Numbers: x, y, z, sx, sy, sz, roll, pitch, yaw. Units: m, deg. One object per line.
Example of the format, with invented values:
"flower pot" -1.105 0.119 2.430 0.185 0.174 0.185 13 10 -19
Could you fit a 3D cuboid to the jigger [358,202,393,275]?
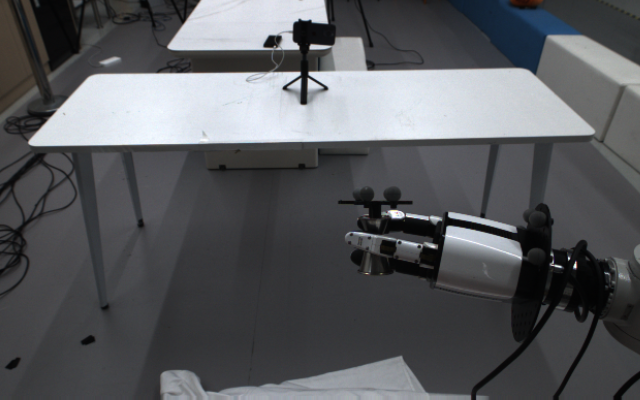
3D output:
"jigger" 0.067 0.054 0.591 0.043 0.071 0.043 -1 2 0
